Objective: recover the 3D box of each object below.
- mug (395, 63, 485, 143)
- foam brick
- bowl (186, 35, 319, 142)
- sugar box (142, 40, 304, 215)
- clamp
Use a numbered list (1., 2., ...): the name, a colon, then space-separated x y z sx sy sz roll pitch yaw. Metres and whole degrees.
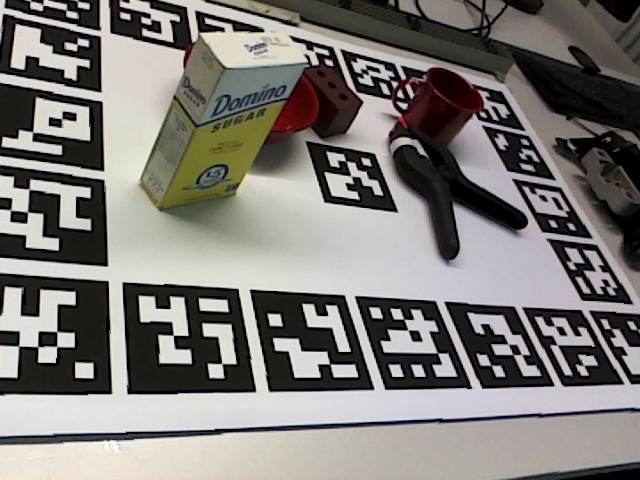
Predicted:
1. mug: 0.160 -0.194 0.873 0.117 0.081 0.093 28 43 -13
2. foam brick: 0.008 -0.173 0.796 0.052 0.051 0.078 -24 69 -41
3. bowl: -0.085 -0.165 0.721 0.161 0.055 0.162 17 46 -19
4. sugar box: -0.093 -0.100 0.571 0.092 0.177 0.045 -21 68 -43
5. clamp: 0.153 -0.083 0.799 0.164 0.037 0.203 -20 66 -39
